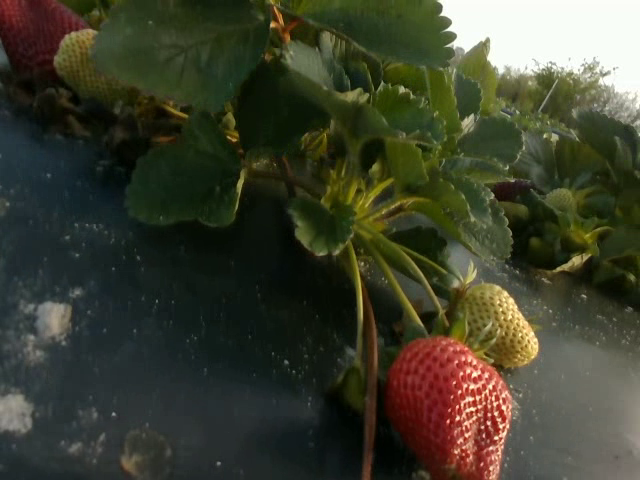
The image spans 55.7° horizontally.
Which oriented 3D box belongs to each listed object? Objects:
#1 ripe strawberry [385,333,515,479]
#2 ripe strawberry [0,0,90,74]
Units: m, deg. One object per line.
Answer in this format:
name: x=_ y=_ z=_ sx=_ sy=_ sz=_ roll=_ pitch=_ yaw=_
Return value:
ripe strawberry: x=0.047 y=0.054 z=0.189 sx=0.047 sy=0.050 sz=0.035 roll=18 pitch=-44 yaw=-15
ripe strawberry: x=-0.155 y=-0.114 z=0.331 sx=0.057 sy=0.071 sz=0.058 roll=-16 pitch=20 yaw=46
